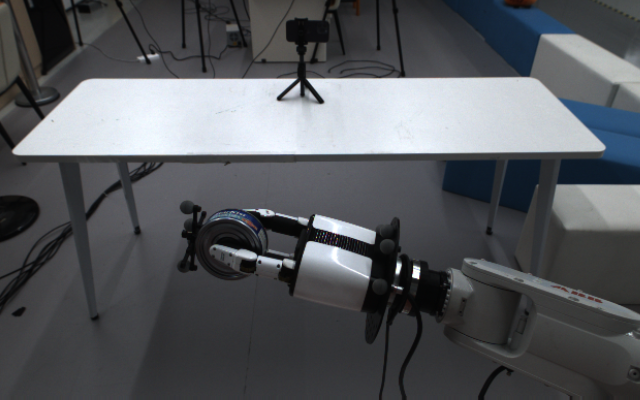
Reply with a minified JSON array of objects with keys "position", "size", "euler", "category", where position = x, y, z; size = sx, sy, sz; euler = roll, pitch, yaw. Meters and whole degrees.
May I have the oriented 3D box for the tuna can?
[{"position":[-0.107,0.055,0.600],"size":[0.085,0.085,0.034],"euler":[4,18,3],"category":"tuna can"}]
